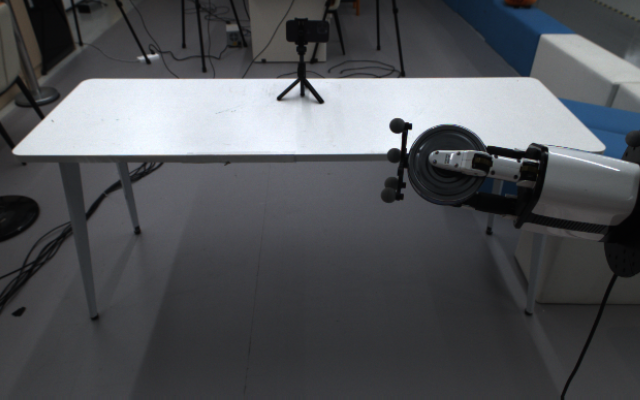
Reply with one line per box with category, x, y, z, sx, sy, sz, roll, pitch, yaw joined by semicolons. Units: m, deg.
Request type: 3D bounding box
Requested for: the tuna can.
tuna can;0.141;-0.041;0.532;0.085;0.085;0.034;9;-7;10
